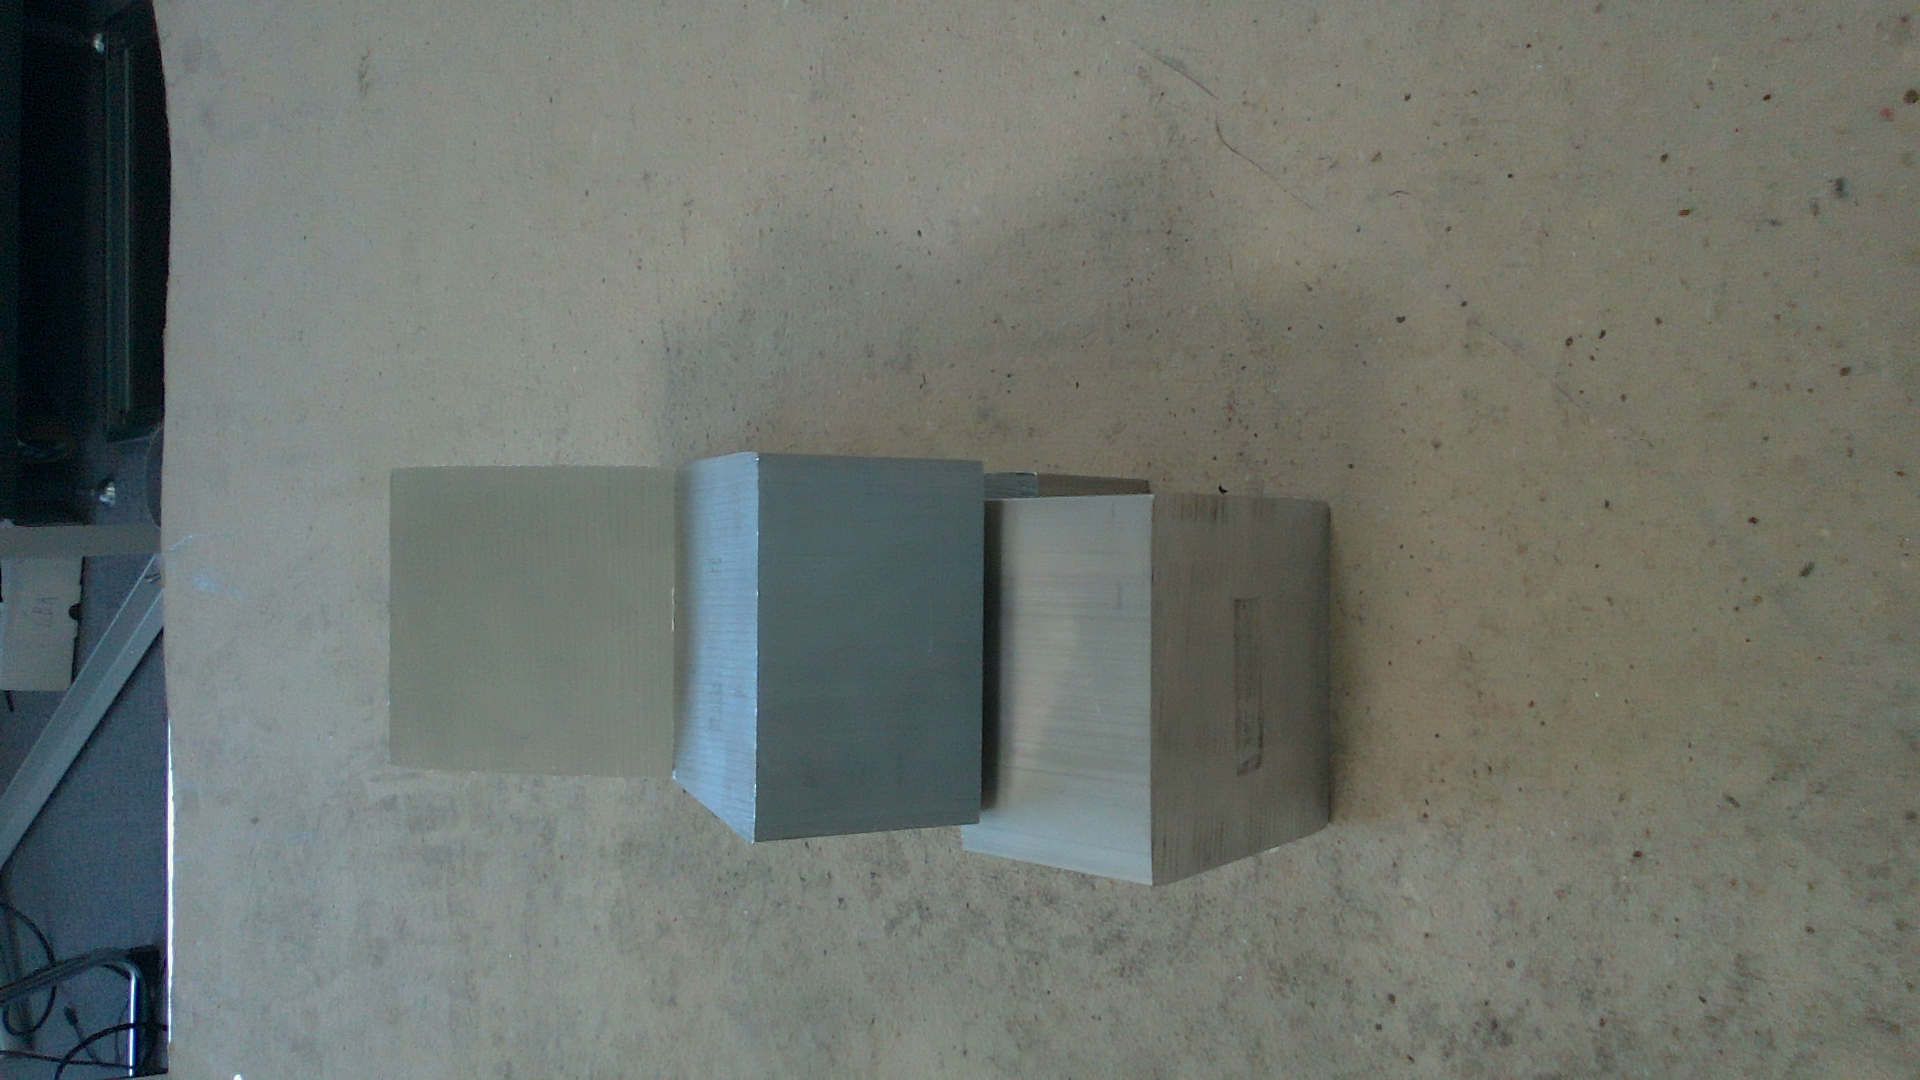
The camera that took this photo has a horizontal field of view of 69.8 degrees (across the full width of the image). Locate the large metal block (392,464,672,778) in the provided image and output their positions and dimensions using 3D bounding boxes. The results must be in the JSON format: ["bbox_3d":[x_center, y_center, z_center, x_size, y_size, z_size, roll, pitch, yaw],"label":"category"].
[{"bbox_3d":[-0.106,0.021,0.381,0.080,0.050,0.080,0,90,11],"label":"large metal block"}]

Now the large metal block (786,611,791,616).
[{"bbox_3d":[-0.057,0.021,0.426,0.080,0.050,0.080,0,90,40],"label":"large metal block"}]

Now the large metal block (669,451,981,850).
[{"bbox_3d":[-0.035,0.022,0.322,0.080,0.050,0.080,-178,89,-67],"label":"large metal block"}]

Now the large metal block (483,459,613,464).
[{"bbox_3d":[-0.118,0.017,0.457,0.050,0.080,0.080,-1,88,41],"label":"large metal block"}]

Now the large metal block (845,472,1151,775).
[{"bbox_3d":[0.004,0.024,0.374,0.080,0.050,0.080,0,90,40],"label":"large metal block"}]

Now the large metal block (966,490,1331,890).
[{"bbox_3d":[0.046,0.030,0.322,0.050,0.080,0.080,0,90,39],"label":"large metal block"}]
